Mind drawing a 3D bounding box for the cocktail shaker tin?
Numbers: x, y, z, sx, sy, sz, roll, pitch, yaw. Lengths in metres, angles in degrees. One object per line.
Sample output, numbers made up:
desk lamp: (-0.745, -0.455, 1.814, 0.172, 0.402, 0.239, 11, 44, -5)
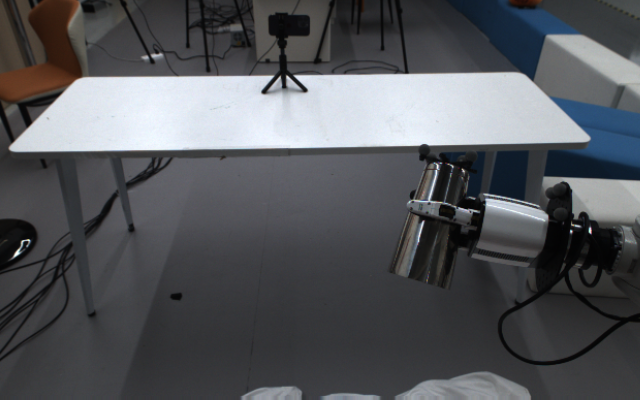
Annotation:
cocktail shaker tin: (0.164, 0.035, 0.706, 0.093, 0.170, 0.093, 16, -6, 2)
